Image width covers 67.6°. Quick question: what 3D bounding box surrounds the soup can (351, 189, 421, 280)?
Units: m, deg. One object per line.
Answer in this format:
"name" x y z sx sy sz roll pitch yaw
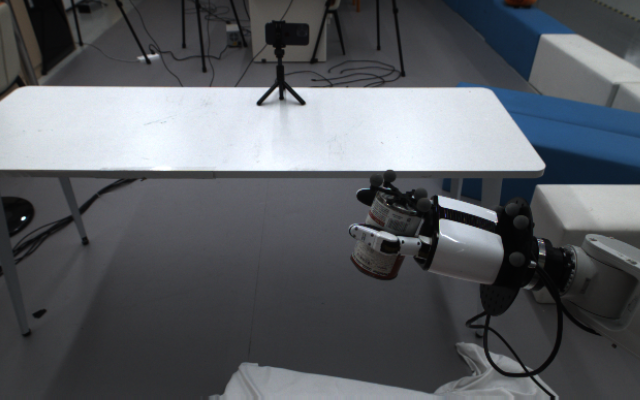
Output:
"soup can" 0.090 0.045 0.638 0.067 0.101 0.067 17 21 -7
